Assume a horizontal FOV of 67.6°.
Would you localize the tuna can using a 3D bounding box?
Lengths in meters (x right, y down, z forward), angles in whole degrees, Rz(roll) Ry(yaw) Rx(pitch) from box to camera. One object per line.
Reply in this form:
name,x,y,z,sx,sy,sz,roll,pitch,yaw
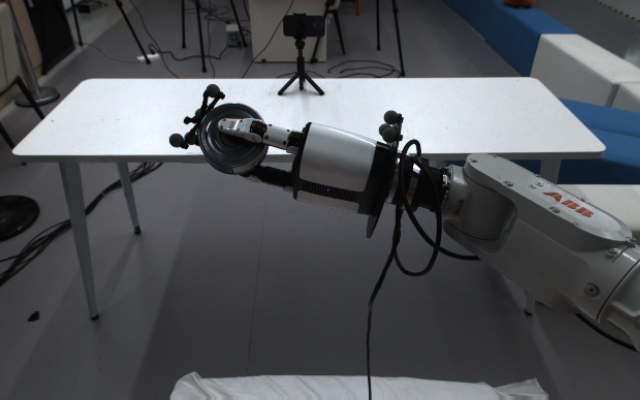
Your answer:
tuna can,-0.105,-0.073,0.605,0.085,0.034,0.085,1,78,-6
